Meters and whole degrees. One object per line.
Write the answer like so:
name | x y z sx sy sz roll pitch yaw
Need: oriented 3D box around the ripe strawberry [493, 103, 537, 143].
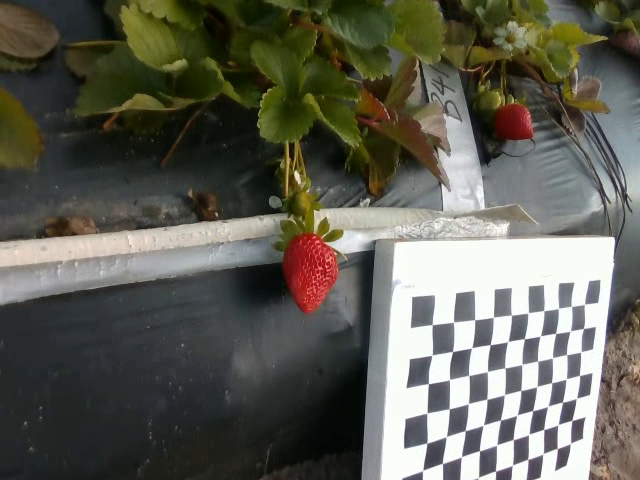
ripe strawberry | 0.166 -0.098 0.517 0.037 0.031 0.048 16 34 -37

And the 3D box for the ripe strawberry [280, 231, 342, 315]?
ripe strawberry | -0.006 0.021 0.351 0.030 0.053 0.048 -15 -47 36
